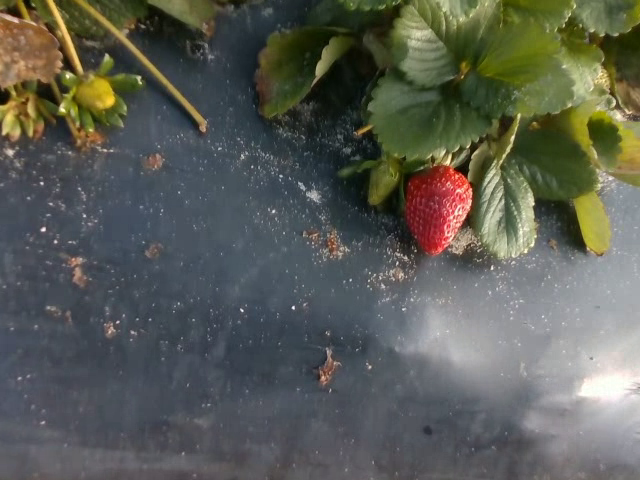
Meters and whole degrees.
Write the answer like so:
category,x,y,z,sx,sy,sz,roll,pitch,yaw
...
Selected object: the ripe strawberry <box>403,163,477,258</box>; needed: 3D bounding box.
category,x,y,z,sx,sy,sz,roll,pitch,yaw
ripe strawberry,0.040,-0.008,0.206,0.029,0.036,0.021,8,-17,-4
